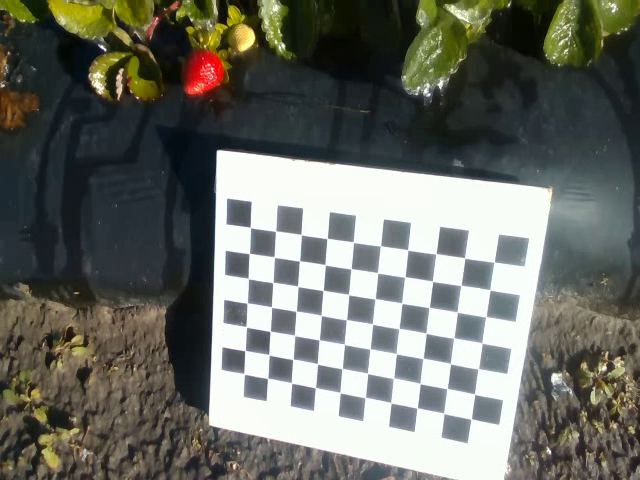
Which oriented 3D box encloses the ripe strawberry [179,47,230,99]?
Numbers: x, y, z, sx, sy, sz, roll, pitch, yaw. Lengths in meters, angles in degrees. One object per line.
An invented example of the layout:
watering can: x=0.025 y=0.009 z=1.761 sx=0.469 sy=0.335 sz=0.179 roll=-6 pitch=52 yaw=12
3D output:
ripe strawberry: x=-0.084 y=-0.109 z=0.701 sx=0.039 sy=0.040 sz=0.039 roll=2 pitch=42 yaw=30
